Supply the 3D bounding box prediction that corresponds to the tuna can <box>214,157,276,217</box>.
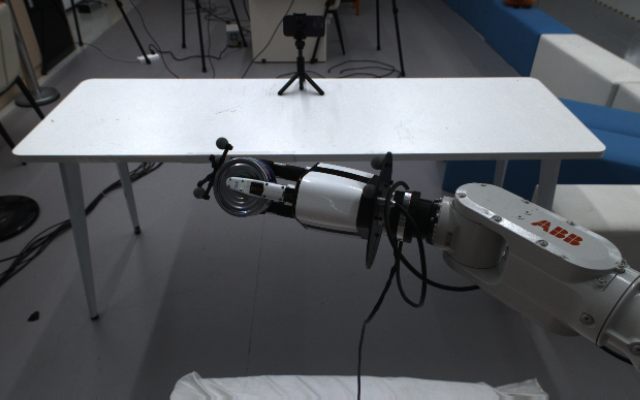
[{"bbox_3d":[-0.104,-0.015,0.684,0.085,0.085,0.034,9,5,10],"label":"tuna can"}]
